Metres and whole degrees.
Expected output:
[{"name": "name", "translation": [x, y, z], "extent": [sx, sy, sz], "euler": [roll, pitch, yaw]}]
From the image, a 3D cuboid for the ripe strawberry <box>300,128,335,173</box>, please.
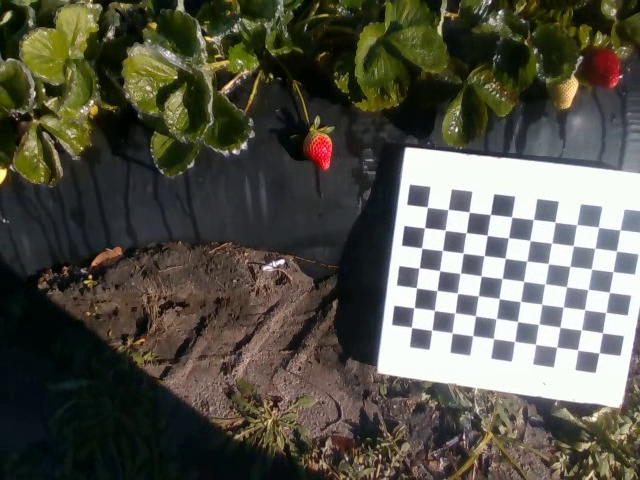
[{"name": "ripe strawberry", "translation": [0.002, -0.102, 0.652], "extent": [0.039, 0.053, 0.041], "euler": [-15, -12, 5]}]
